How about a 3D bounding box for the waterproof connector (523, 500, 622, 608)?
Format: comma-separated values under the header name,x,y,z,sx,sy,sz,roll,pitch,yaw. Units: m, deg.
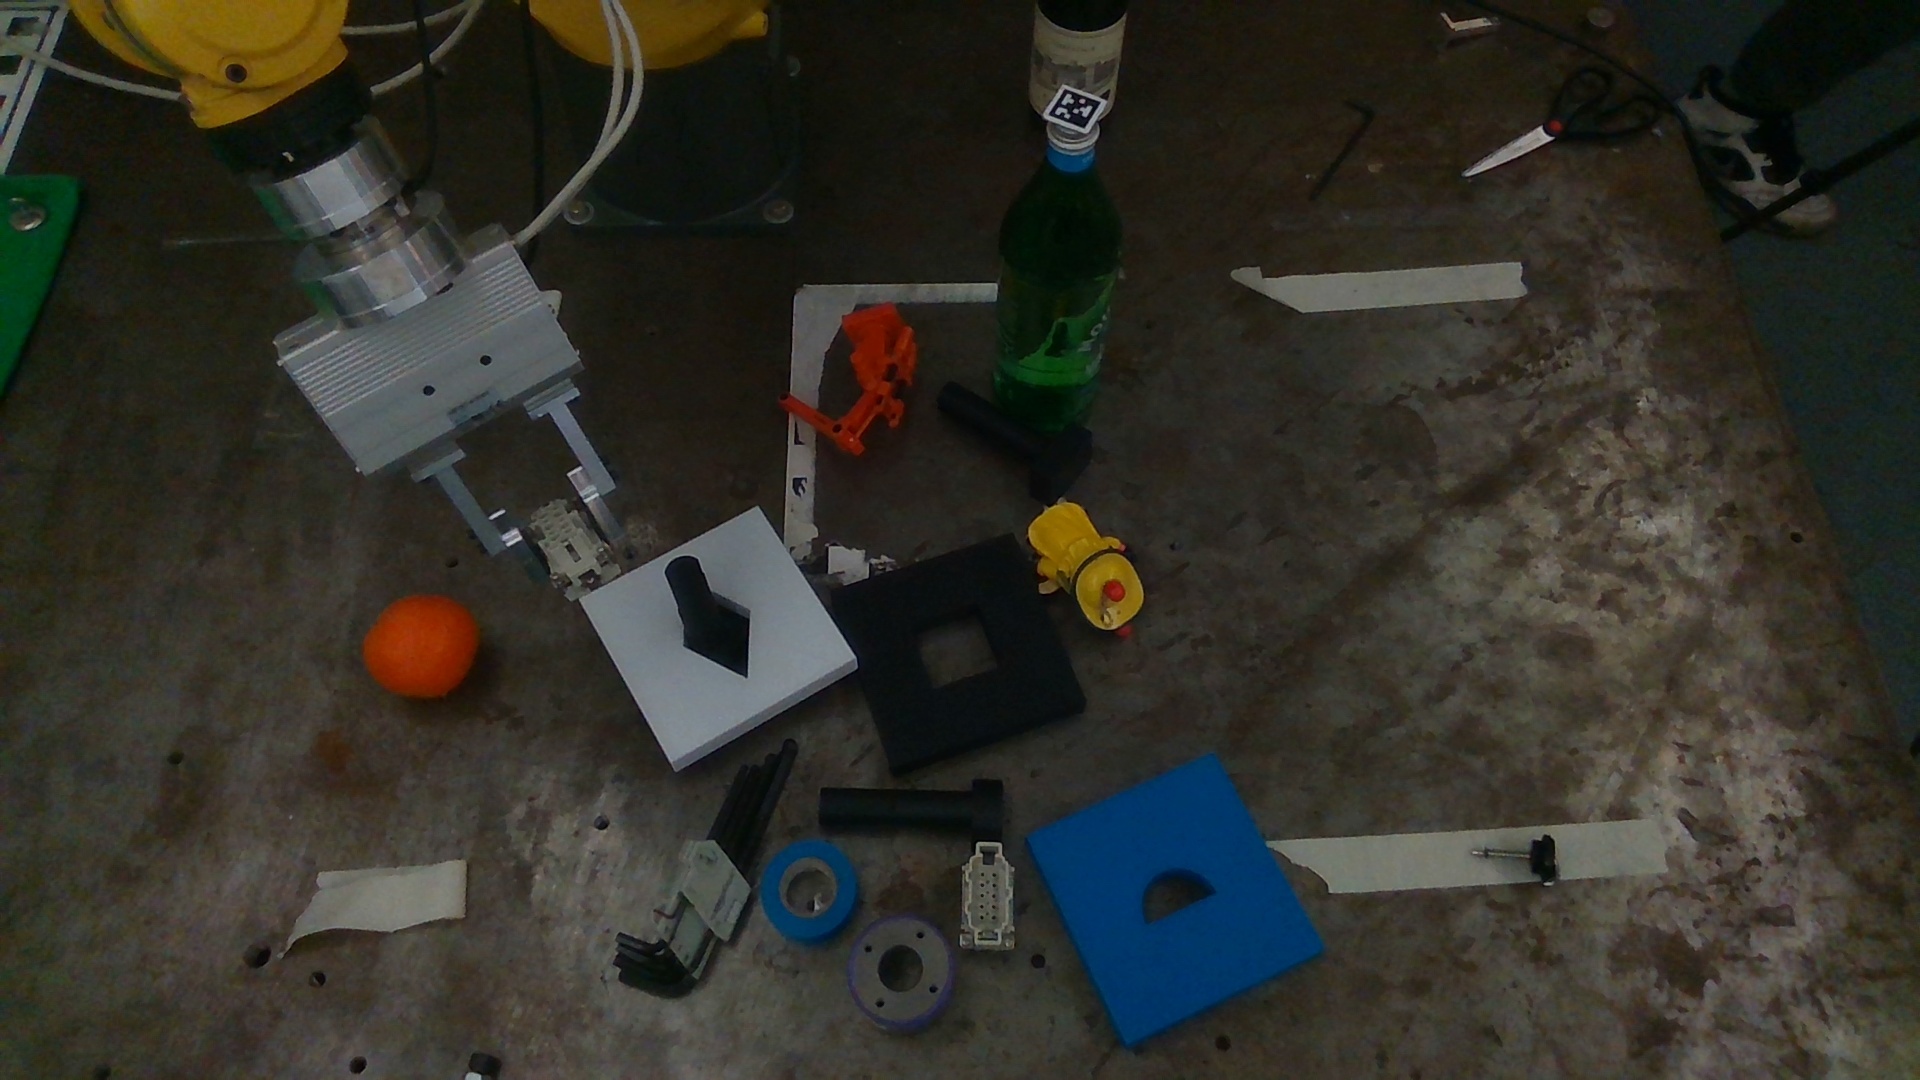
name,x,y,z,sx,sy,sz,roll,pitch,yaw
waterproof connector,-0.213,0.004,0.753,0.036,0.038,0.069,-37,38,-7
